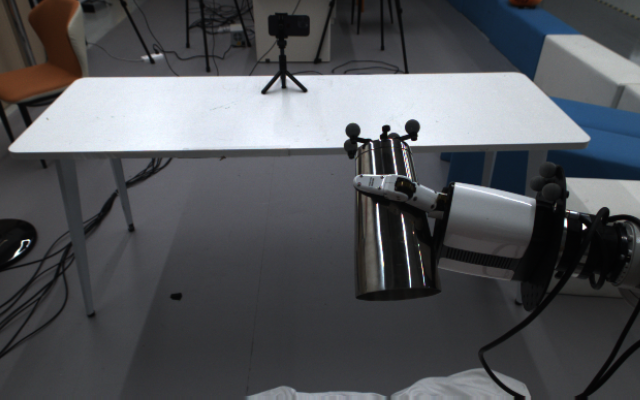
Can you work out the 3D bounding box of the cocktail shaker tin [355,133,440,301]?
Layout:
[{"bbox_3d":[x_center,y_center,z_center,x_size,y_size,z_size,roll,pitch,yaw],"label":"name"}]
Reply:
[{"bbox_3d":[0.079,0.022,0.543,0.093,0.093,0.170,-2,70,-6],"label":"cocktail shaker tin"}]
